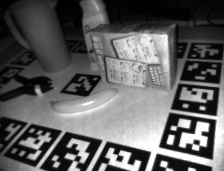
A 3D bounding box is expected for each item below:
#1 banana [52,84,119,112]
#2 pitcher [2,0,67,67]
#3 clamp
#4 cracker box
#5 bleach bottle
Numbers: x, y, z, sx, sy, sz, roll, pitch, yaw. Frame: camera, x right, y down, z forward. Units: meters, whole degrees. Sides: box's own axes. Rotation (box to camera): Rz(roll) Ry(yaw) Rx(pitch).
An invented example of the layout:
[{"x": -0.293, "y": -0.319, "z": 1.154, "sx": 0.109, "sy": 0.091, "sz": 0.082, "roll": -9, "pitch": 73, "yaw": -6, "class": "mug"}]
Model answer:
[{"x": -0.073, "y": 0.037, "z": 0.609, "sx": 0.197, "sy": 0.039, "sz": 0.073, "roll": -16, "pitch": 37, "yaw": -3, "class": "banana"}, {"x": -0.246, "y": -0.186, "z": 0.727, "sx": 0.188, "sy": 0.244, "sz": 0.133, "roll": -5, "pitch": 38, "yaw": 8, "class": "pitcher"}, {"x": -0.263, "y": -0.006, "z": 0.709, "sx": 0.164, "sy": 0.037, "sz": 0.121, "roll": -3, "pitch": 37, "yaw": 10, "class": "clamp"}, {"x": 0.057, "y": -0.093, "z": 0.595, "sx": 0.211, "sy": 0.165, "sz": 0.072, "roll": 6, "pitch": 39, "yaw": 27, "class": "cracker box"}, {"x": -0.058, "y": -0.177, "z": 0.690, "sx": 0.101, "sy": 0.253, "sz": 0.068, "roll": 6, "pitch": 41, "yaw": 25, "class": "bleach bottle"}]
